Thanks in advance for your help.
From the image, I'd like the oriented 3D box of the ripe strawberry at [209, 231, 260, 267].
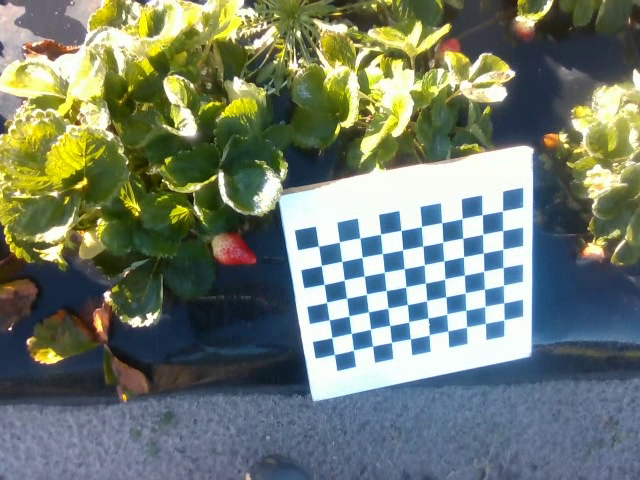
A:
[{"bbox_3d":[-0.104,0.018,0.737,0.065,0.040,0.040,29,11,-19],"label":"ripe strawberry"}]
